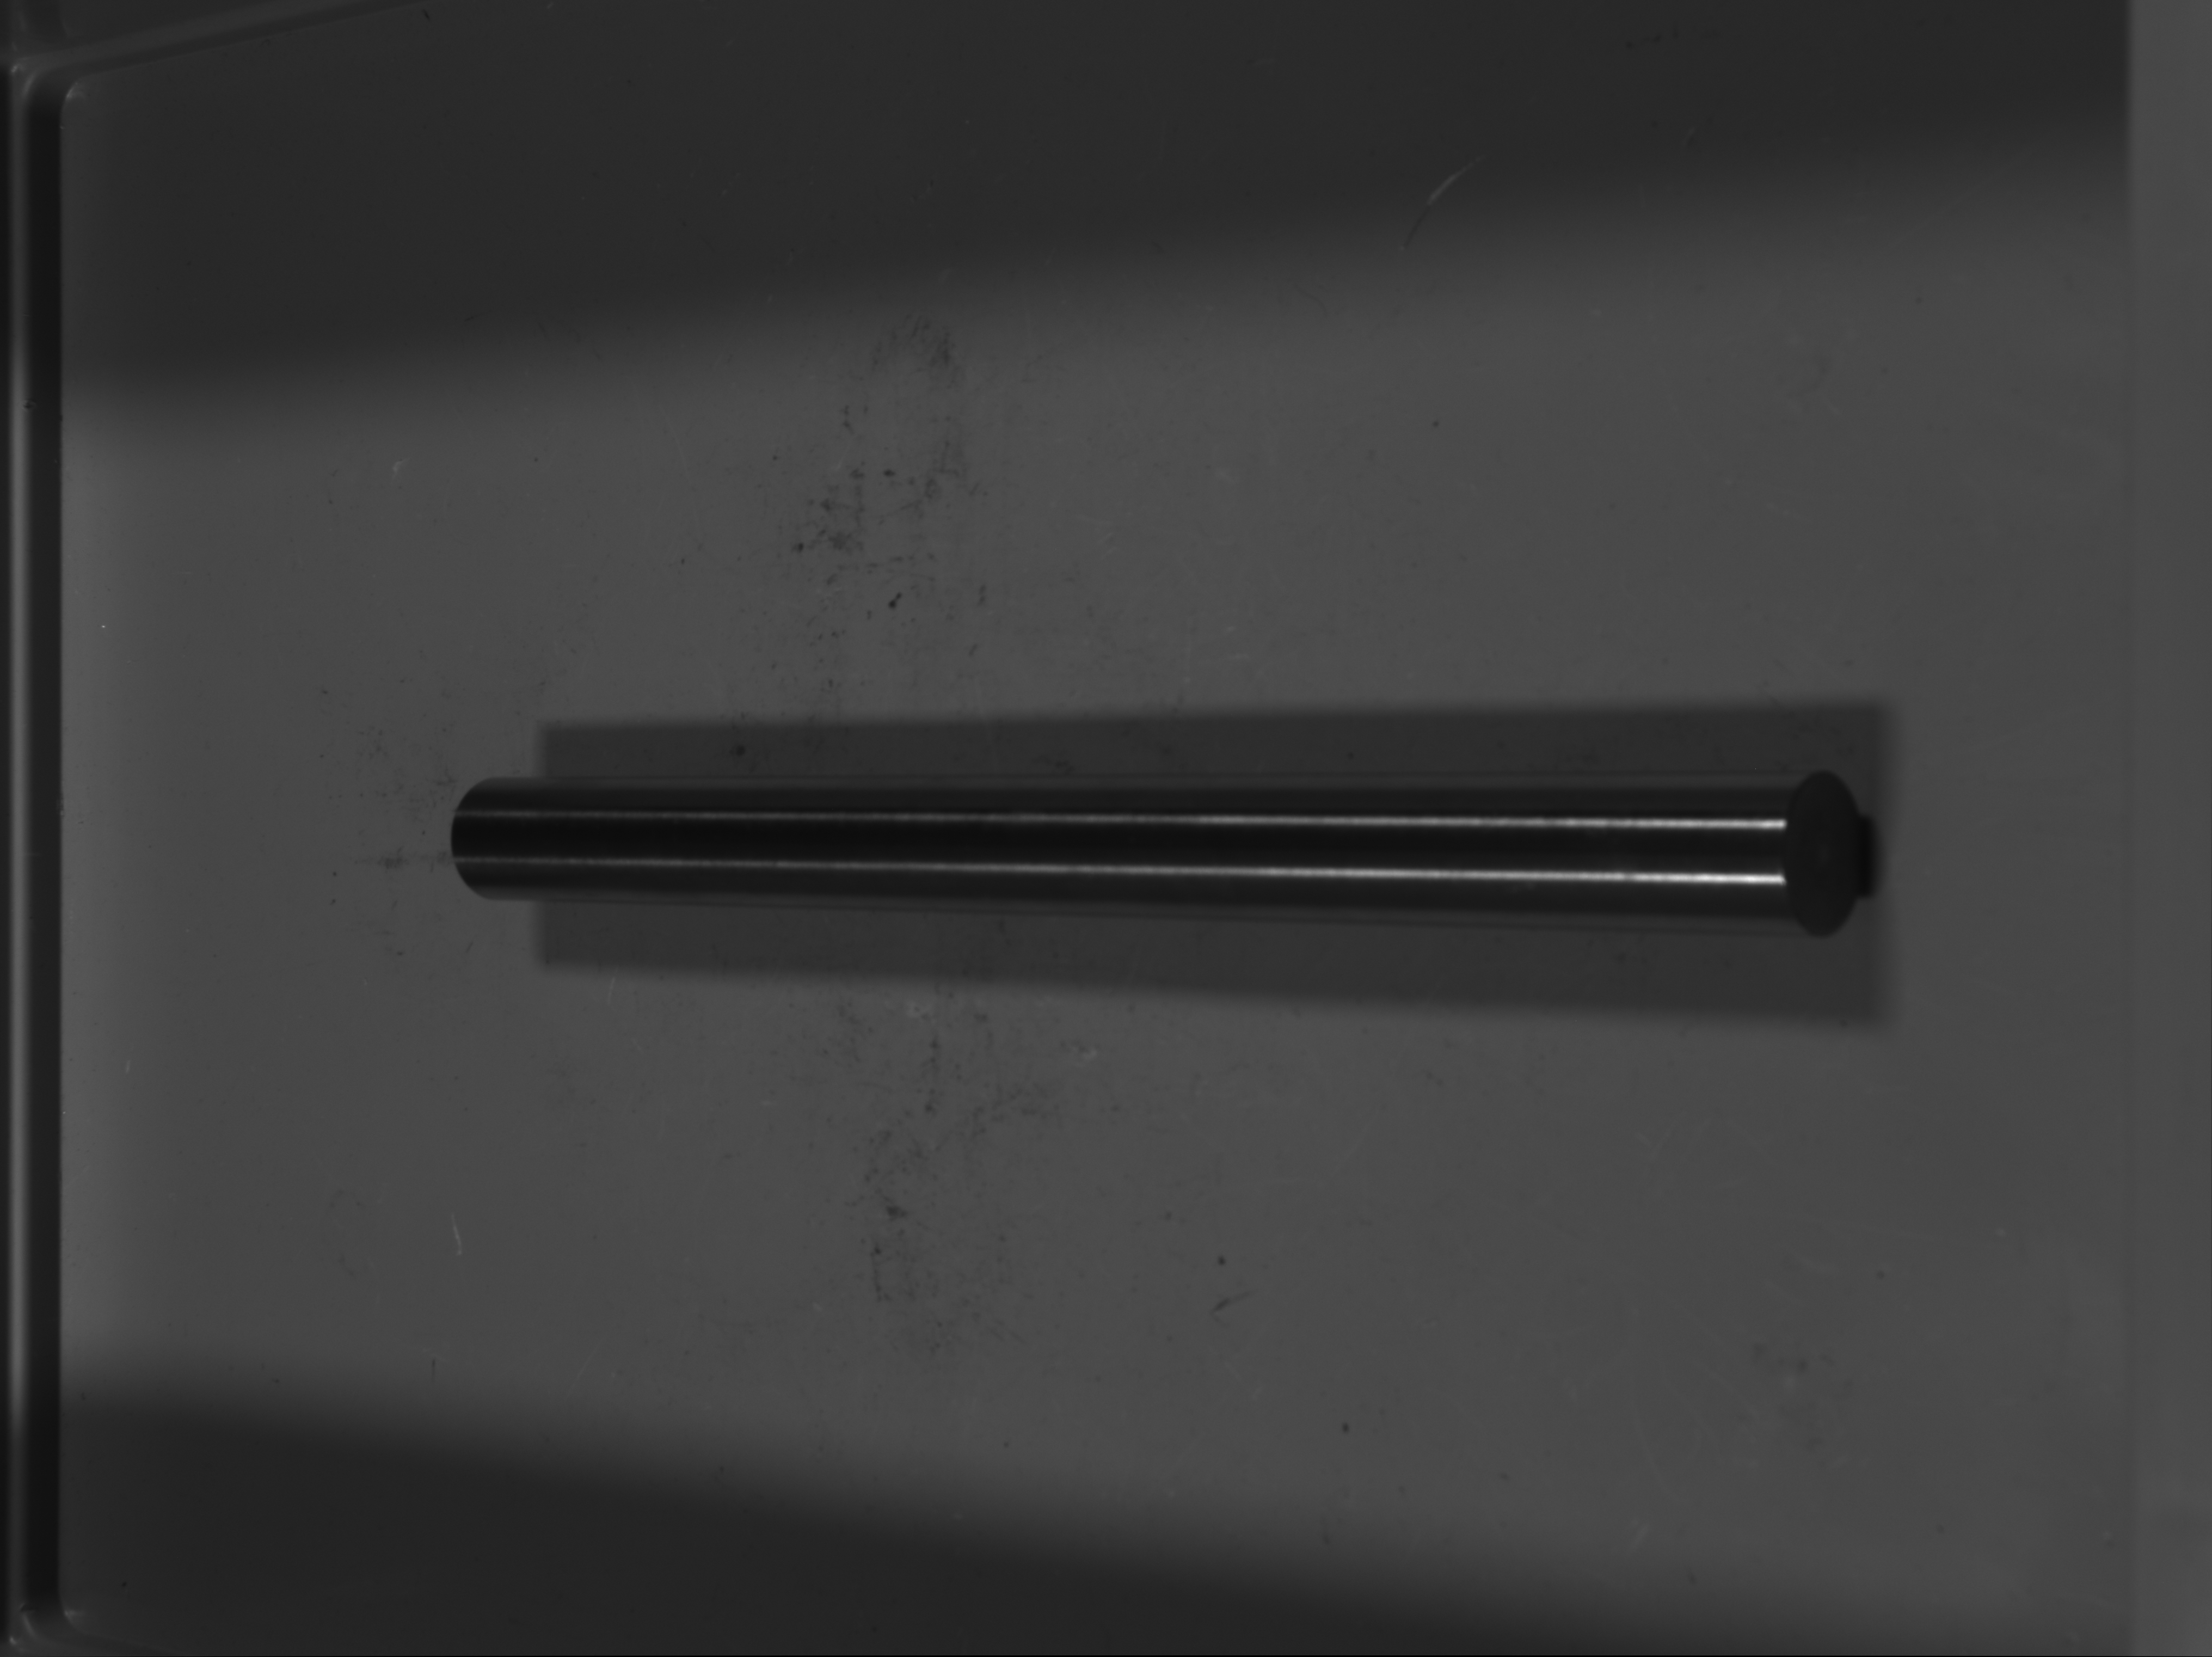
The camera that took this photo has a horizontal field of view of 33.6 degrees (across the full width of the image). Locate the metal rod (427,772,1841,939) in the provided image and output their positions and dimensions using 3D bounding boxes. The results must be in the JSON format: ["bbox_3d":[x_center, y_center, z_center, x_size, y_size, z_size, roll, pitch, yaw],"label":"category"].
[{"bbox_3d":[-0.011,0.003,0.644,0.299,0.025,0.025,0,90,39],"label":"metal rod"}]
